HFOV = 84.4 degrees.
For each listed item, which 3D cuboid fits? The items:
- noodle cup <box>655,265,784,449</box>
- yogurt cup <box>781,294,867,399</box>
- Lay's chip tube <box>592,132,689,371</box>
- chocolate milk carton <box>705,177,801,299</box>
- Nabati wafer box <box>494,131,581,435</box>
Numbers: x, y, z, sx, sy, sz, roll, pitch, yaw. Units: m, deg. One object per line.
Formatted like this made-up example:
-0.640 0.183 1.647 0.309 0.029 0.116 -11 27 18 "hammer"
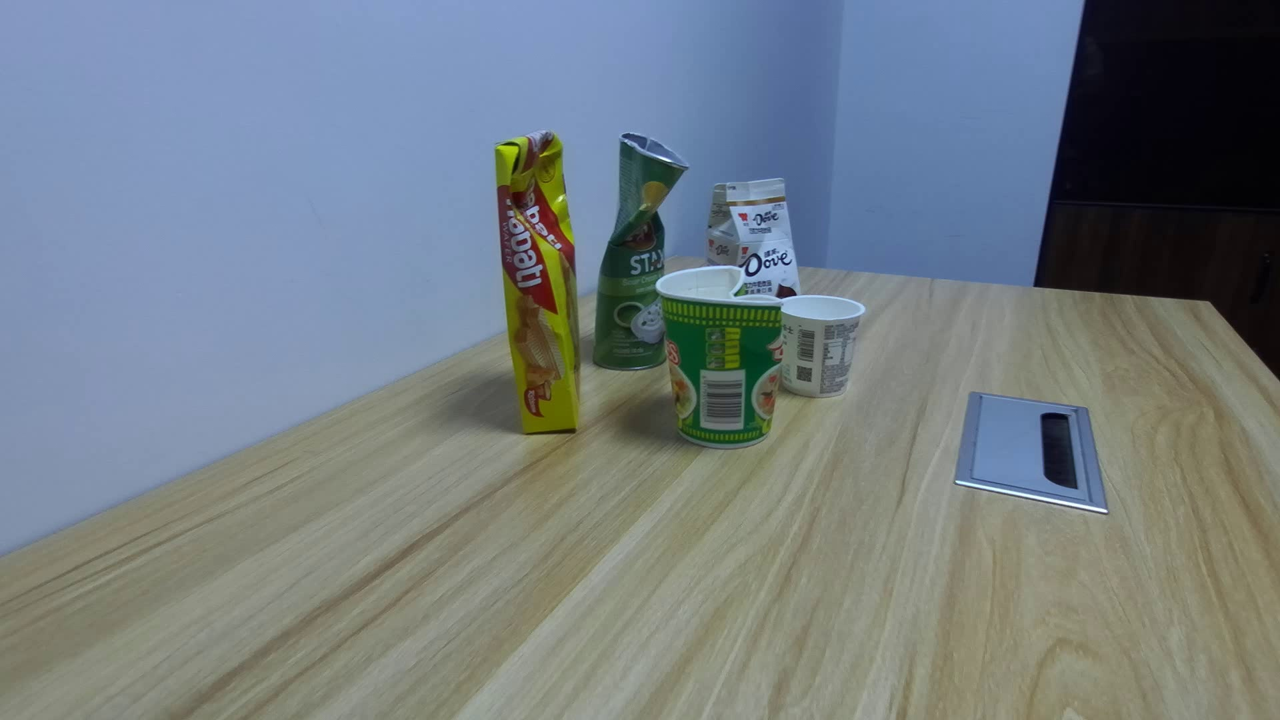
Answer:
0.056 -0.002 0.492 0.087 0.109 0.094 3 21 12 "noodle cup"
0.142 -0.011 0.570 0.072 0.068 0.072 -1 21 1 "yogurt cup"
0.000 -0.090 0.619 0.071 0.199 0.079 10 22 8 "Lay's chip tube"
0.111 -0.094 0.674 0.084 0.155 0.073 -7 23 -15 "chocolate milk carton"
-0.070 -0.056 0.514 0.042 0.205 0.113 -3 21 0 "Nabati wafer box"
